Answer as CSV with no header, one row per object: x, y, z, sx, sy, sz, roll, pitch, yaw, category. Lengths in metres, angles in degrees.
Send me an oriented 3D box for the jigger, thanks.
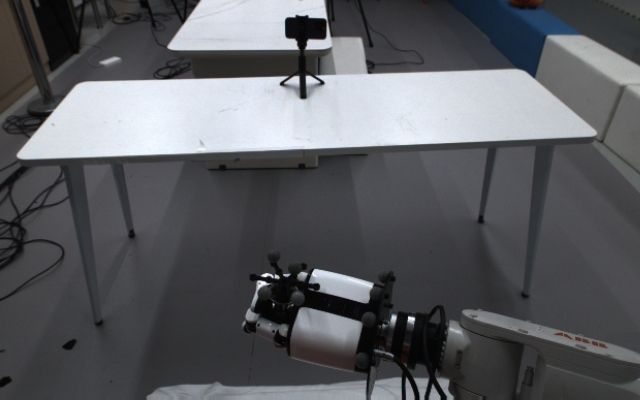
-0.048,0.146,0.637,0.043,0.071,0.043,7,32,-4,jigger
